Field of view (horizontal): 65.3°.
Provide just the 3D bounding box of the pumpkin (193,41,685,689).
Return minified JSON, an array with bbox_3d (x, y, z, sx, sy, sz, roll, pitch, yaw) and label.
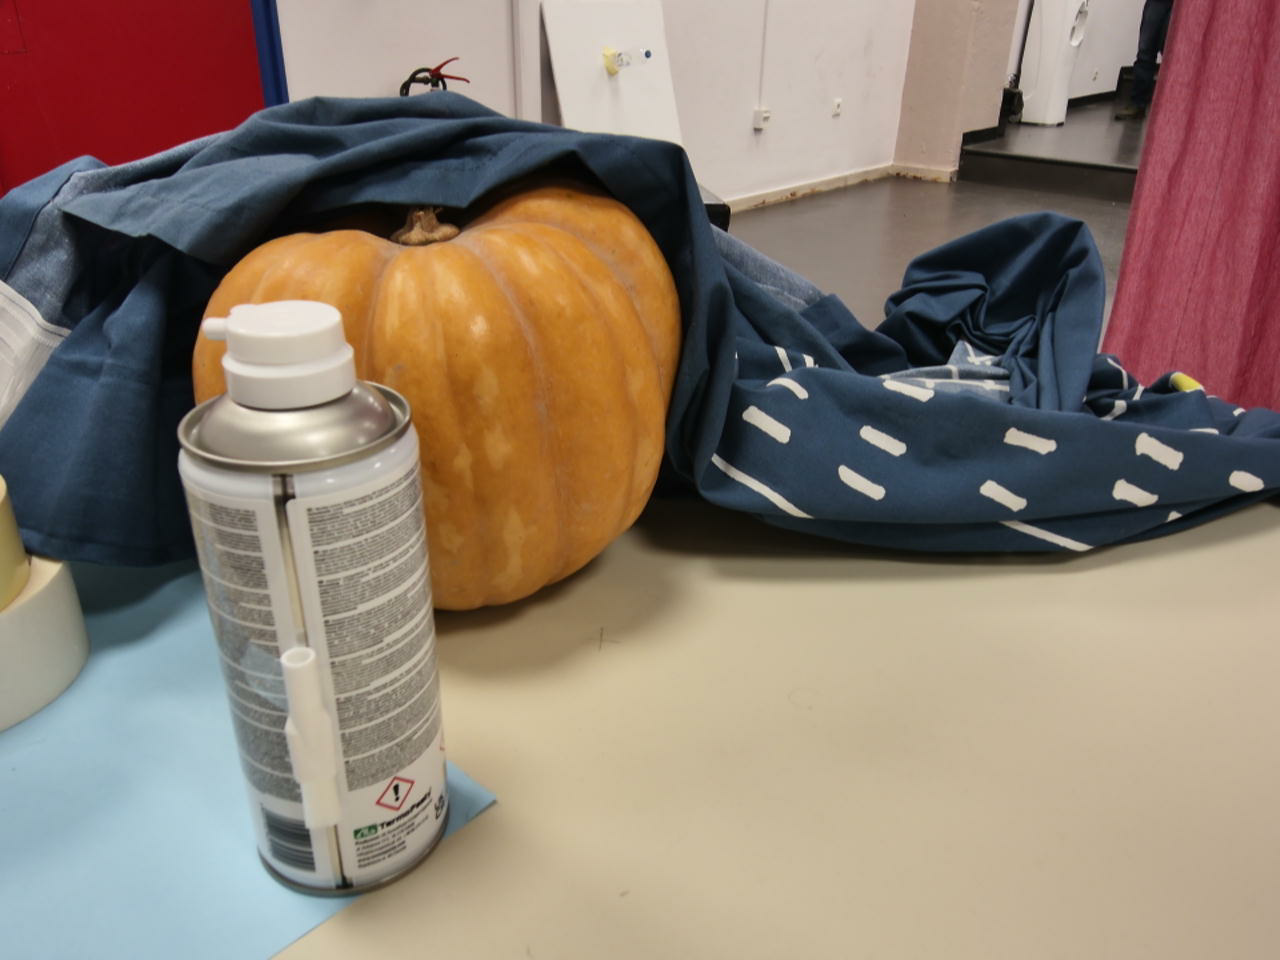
[{"bbox_3d":[-0.089,-0.045,0.474,0.230,0.194,0.230,0,25,0],"label":"pumpkin"}]
